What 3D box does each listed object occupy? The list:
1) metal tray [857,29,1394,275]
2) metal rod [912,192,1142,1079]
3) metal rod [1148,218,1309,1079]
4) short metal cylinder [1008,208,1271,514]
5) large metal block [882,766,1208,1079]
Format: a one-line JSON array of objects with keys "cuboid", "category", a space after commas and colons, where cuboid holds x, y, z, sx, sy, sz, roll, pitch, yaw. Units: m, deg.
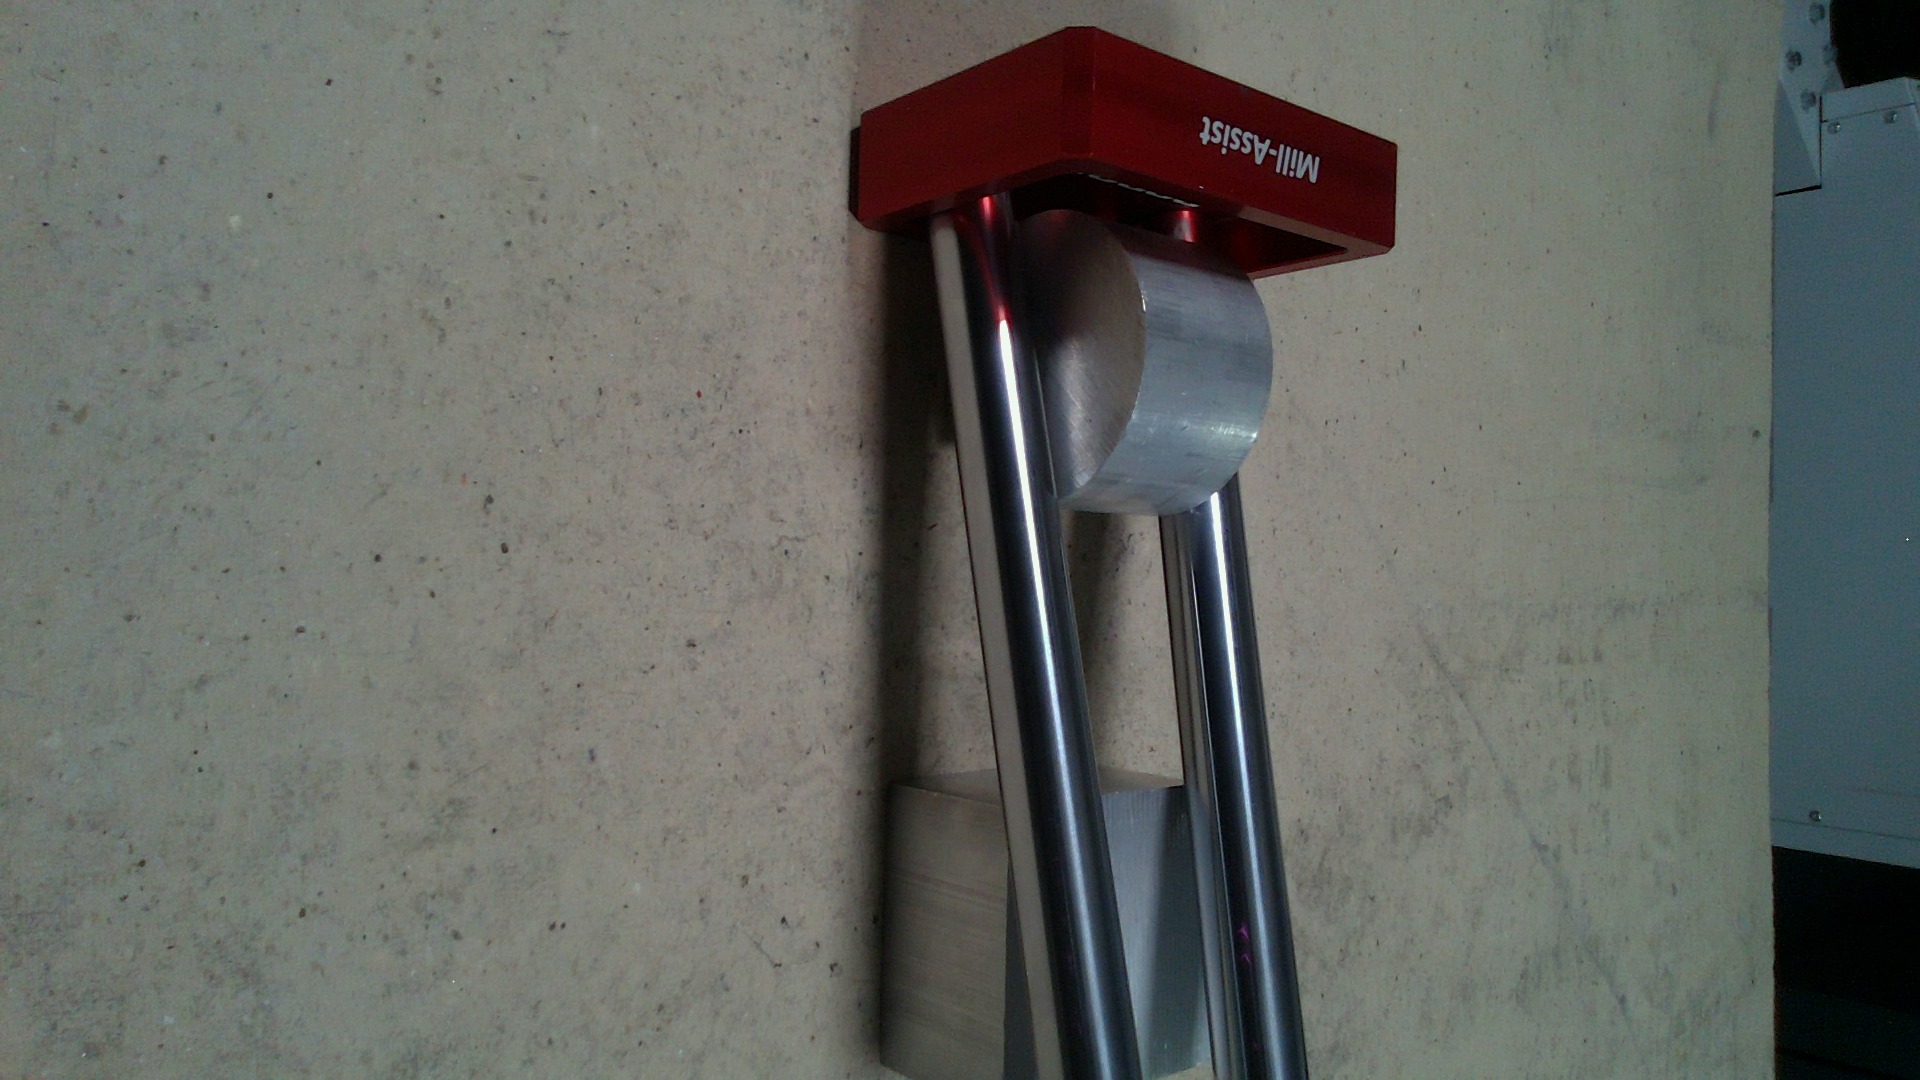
[{"cuboid": [0.048, -0.100, 0.386, 0.131, 0.090, 0.030, 3, 88, -40], "category": "metal tray"}, {"cuboid": [0.019, 0.045, 0.345, 0.025, 0.025, 0.300, 2, 73, -40], "category": "metal rod"}, {"cuboid": [0.074, 0.048, 0.390, 0.025, 0.025, 0.300, 11, 68, -39], "category": "metal rod"}, {"cuboid": [0.039, -0.048, 0.387, 0.050, 0.080, 0.080, 3, 88, -40], "category": "short metal cylinder"}, {"cuboid": [0.026, 0.109, 0.392, 0.080, 0.050, 0.080, 2, 89, -40], "category": "large metal block"}]
